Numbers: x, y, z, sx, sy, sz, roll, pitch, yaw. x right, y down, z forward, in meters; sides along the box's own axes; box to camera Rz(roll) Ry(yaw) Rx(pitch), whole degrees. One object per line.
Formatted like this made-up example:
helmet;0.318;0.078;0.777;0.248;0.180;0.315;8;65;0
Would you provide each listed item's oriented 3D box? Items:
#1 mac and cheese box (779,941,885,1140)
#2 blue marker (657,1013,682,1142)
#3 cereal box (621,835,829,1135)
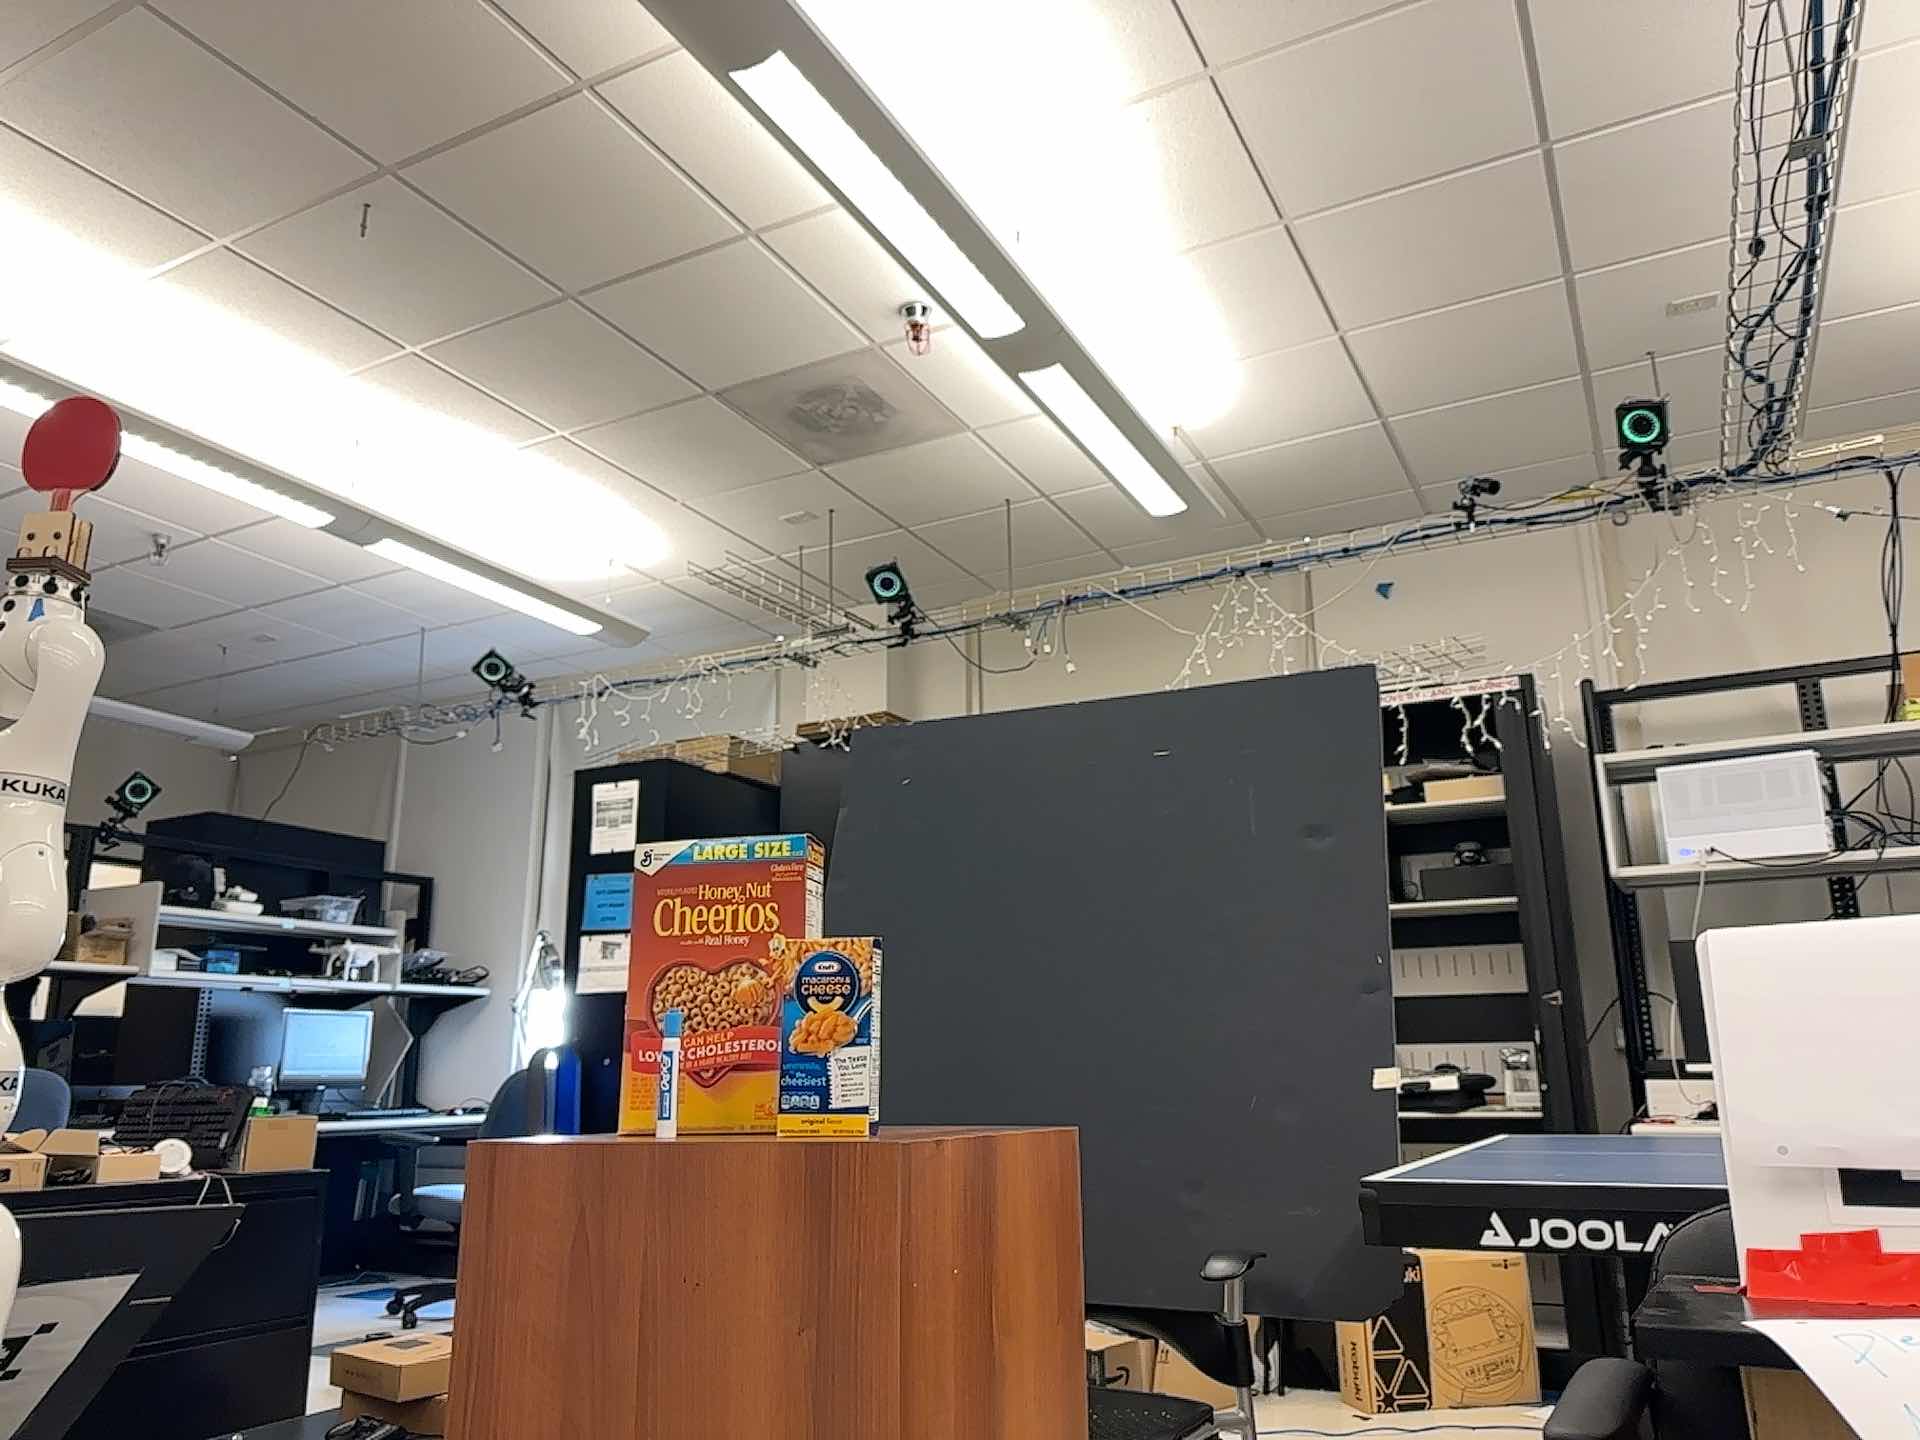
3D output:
mac and cheese box;-0.123;0.308;1.301;0.088;0.181;0.035;-6;-16;21
blue marker;-0.286;0.350;1.325;0.020;0.121;0.020;-1;-14;0
cereal box;-0.249;0.282;1.439;0.195;0.297;0.065;-4;-15;15
